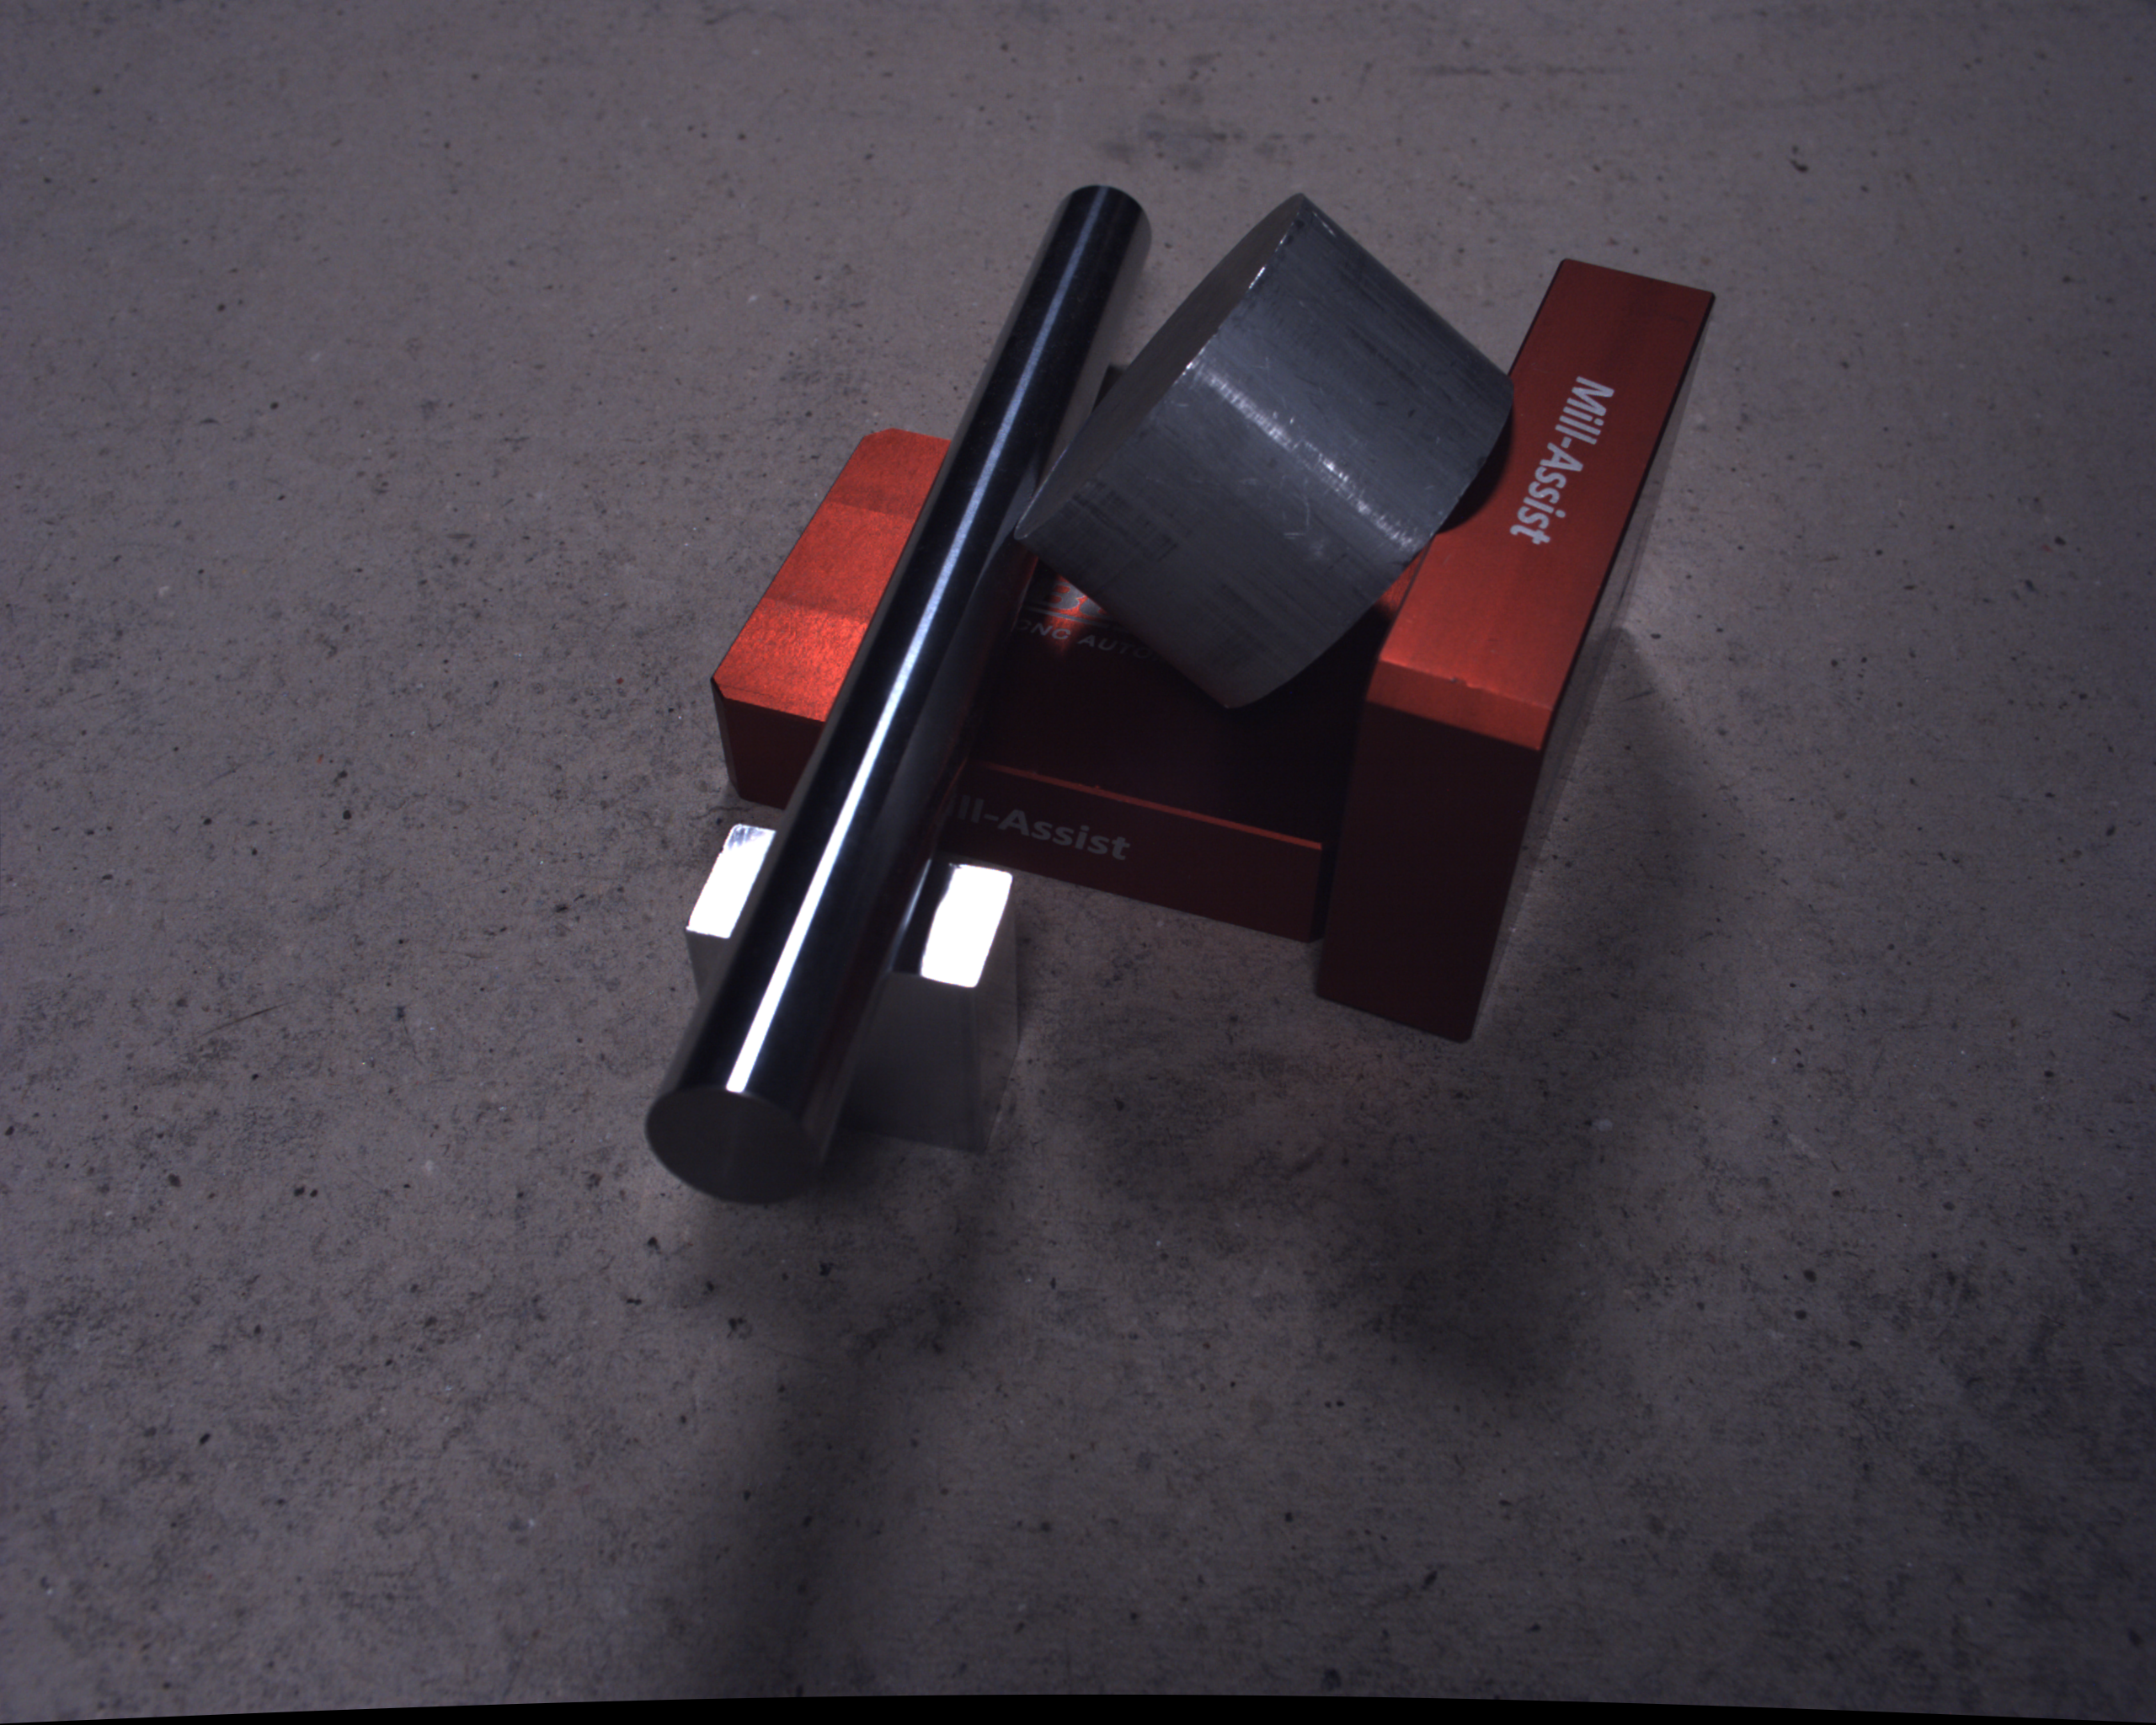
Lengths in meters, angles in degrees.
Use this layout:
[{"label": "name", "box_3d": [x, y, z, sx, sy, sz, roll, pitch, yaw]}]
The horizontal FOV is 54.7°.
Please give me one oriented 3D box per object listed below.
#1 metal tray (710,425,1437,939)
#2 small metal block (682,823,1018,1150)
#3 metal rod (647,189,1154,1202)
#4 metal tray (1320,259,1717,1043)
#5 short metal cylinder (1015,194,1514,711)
[{"label": "metal tray", "box_3d": [0.002, -0.041, 0.435, 0.131, 0.030, 0.090, 14, 51, 11]}, {"label": "small metal block", "box_3d": [-0.038, 0.023, 0.369, 0.050, 0.050, 0.025, 10, 51, 8]}, {"label": "metal rod", "box_3d": [-0.021, -0.057, 0.402, 0.025, 0.025, 0.300, 8, 41, 6]}, {"label": "metal tray", "box_3d": [0.085, -0.042, 0.399, 0.030, 0.089, 0.130, 18, 52, 14]}, {"label": "short metal cylinder", "box_3d": [0.033, -0.075, 0.384, 0.050, 0.080, 0.080, 38, 53, -12]}]
